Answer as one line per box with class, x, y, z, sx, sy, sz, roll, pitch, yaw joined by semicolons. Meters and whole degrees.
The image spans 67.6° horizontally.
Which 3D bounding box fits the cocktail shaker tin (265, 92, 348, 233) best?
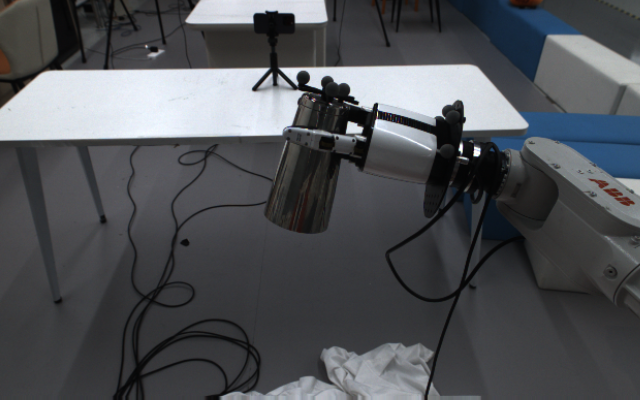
cocktail shaker tin;-0.011;-0.054;0.654;0.093;0.170;0.093;14;18;-5
